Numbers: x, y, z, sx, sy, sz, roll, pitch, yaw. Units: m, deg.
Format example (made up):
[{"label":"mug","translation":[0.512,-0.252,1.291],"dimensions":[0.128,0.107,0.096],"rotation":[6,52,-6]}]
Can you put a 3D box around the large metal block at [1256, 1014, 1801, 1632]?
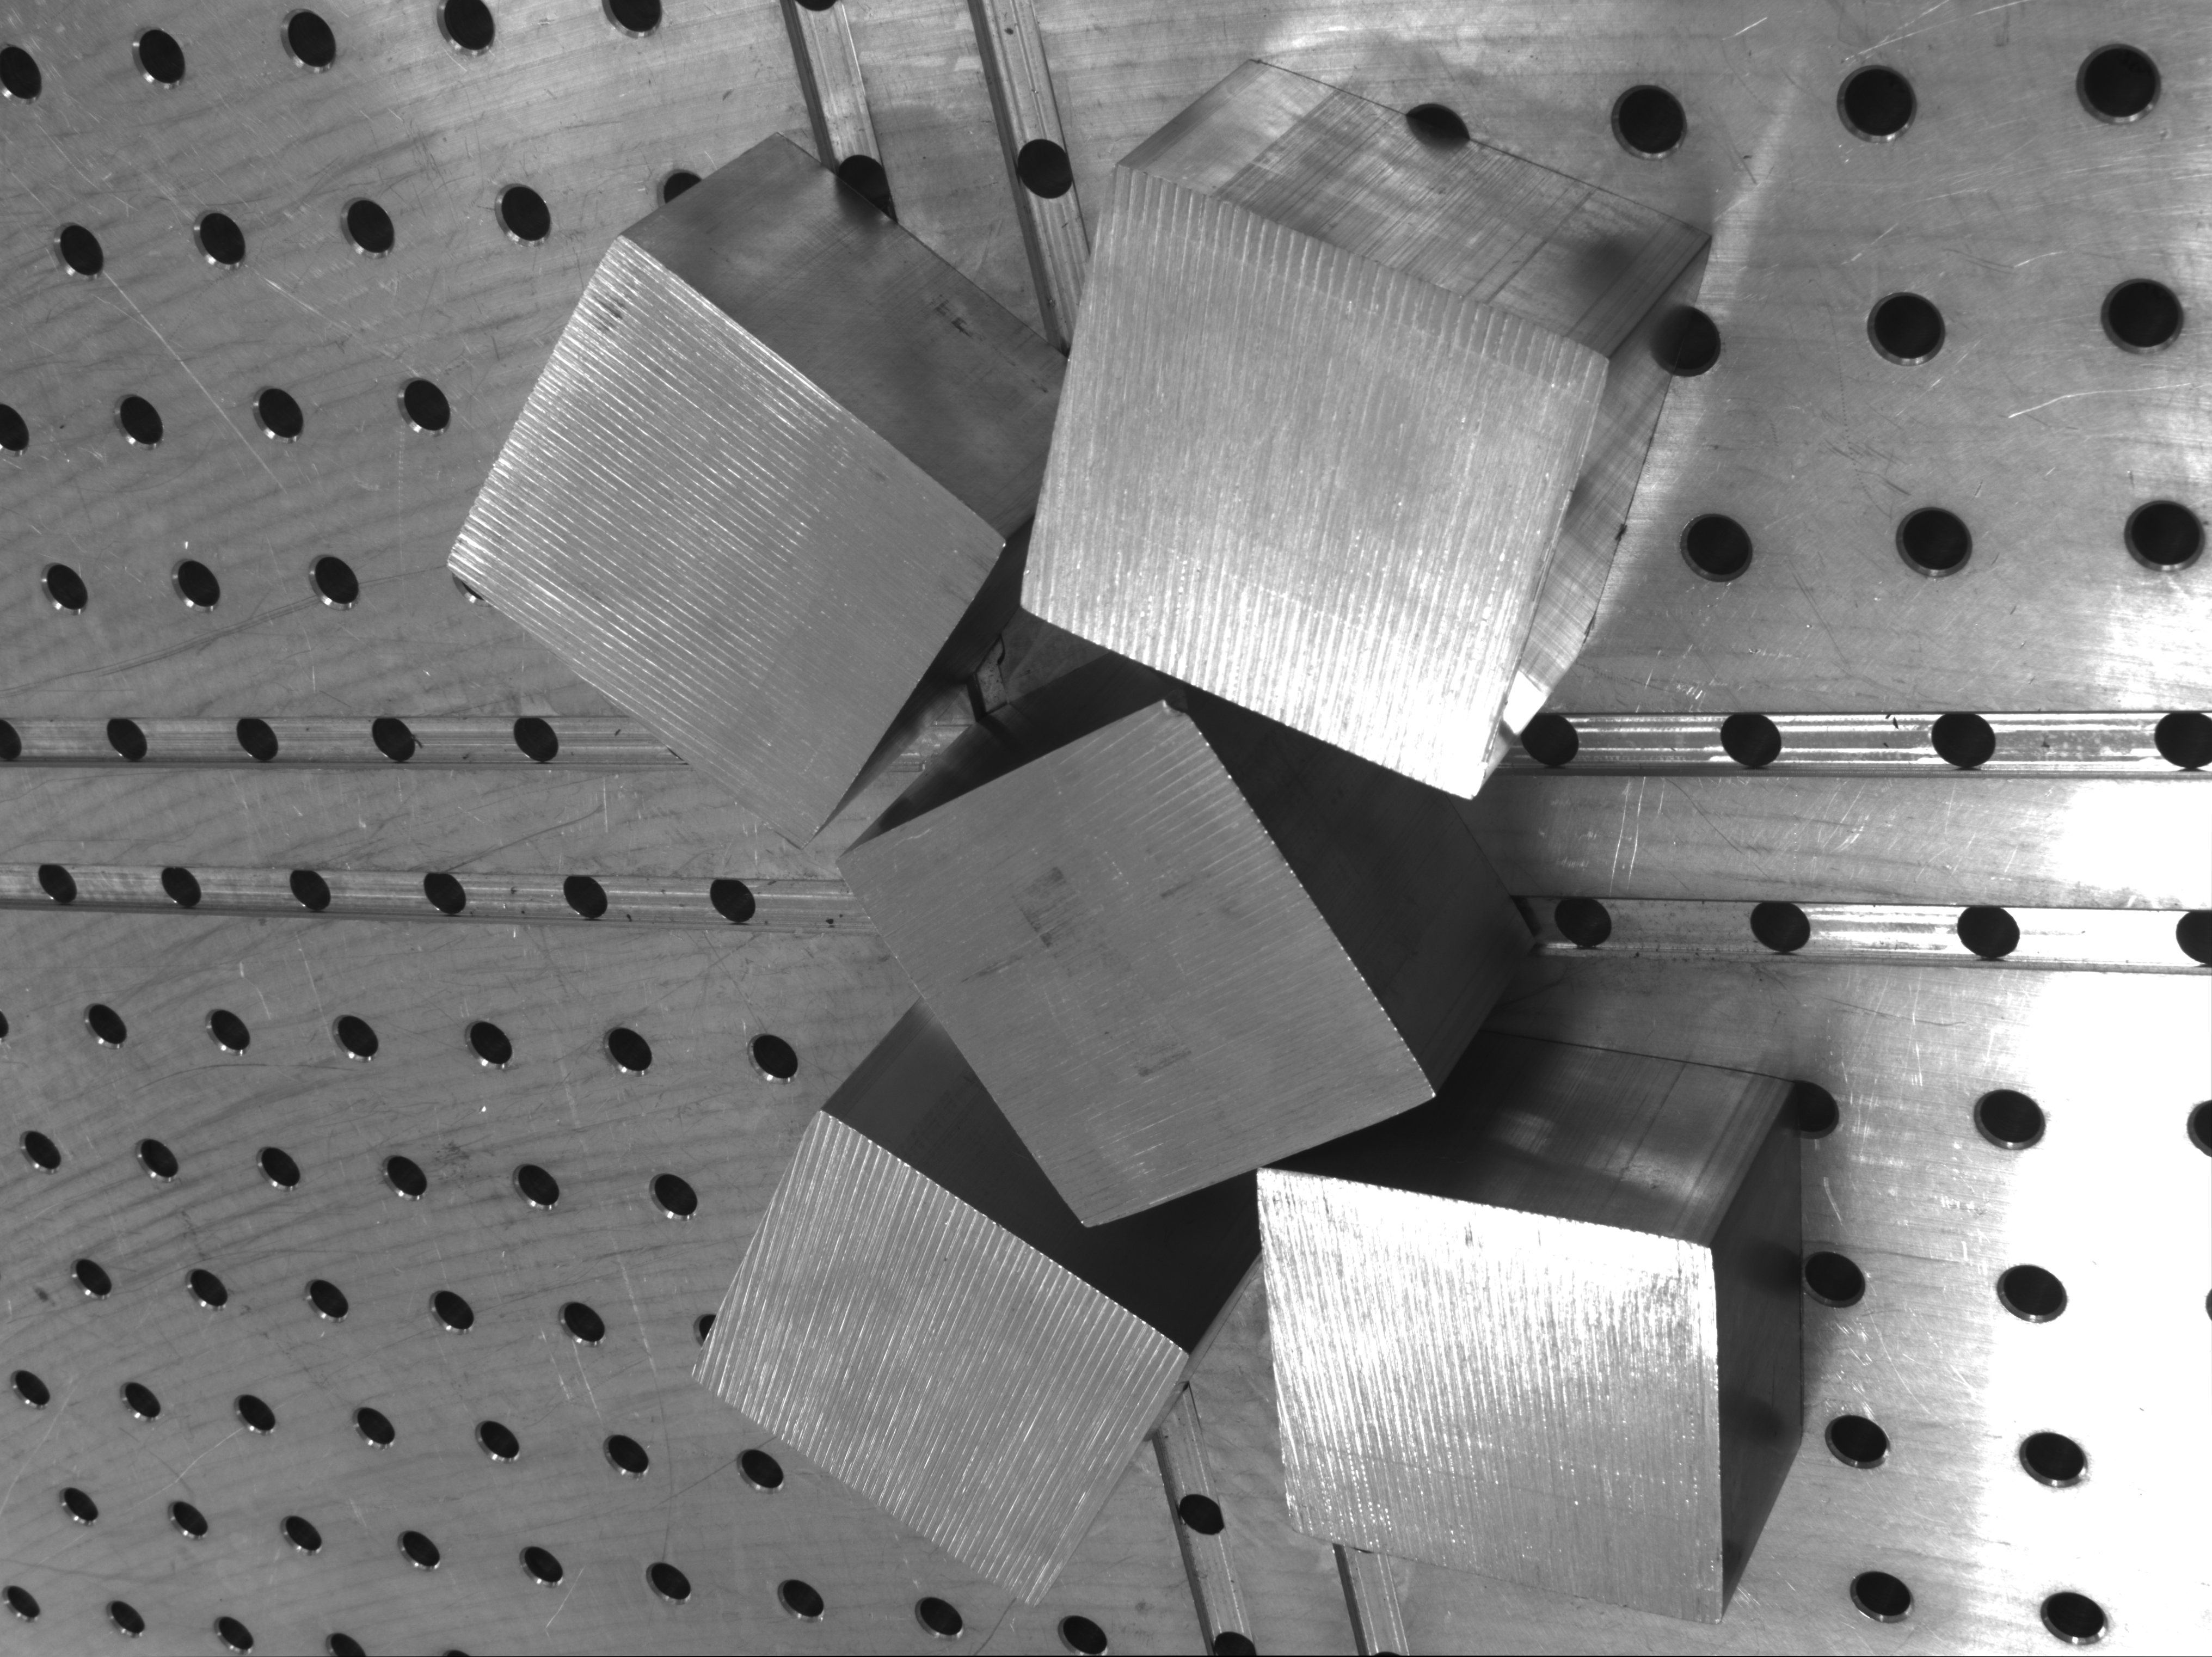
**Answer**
[{"label":"large metal block","translation":[0.075,0.085,0.641],"dimensions":[0.080,0.050,0.080],"rotation":[8,122,23]}]

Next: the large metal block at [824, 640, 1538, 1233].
[{"label":"large metal block","translation":[0.013,0.013,0.630],"dimensions":[0.080,0.050,0.080],"rotation":[-25,105,37]}]

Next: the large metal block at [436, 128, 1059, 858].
[{"label":"large metal block","translation":[-0.055,-0.057,0.625],"dimensions":[0.080,0.050,0.080],"rotation":[39,130,2]}]

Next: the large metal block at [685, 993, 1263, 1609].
[{"label":"large metal block","translation":[-0.023,0.086,0.693],"dimensions":[0.080,0.050,0.080],"rotation":[33,129,7]}]

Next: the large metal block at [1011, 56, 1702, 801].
[{"label":"large metal block","translation":[0.038,-0.063,0.570],"dimensions":[0.080,0.050,0.080],"rotation":[21,127,12]}]
